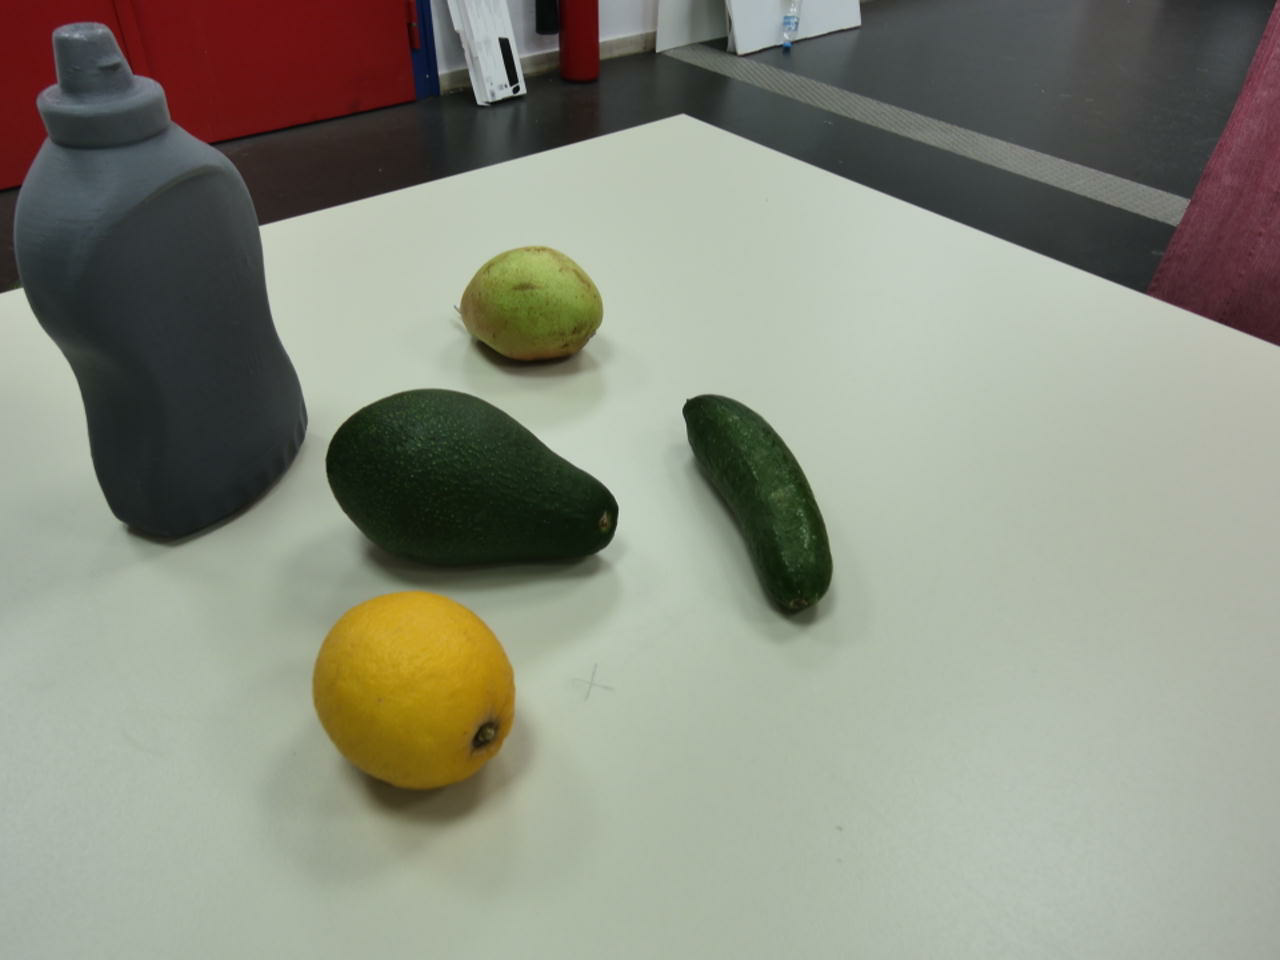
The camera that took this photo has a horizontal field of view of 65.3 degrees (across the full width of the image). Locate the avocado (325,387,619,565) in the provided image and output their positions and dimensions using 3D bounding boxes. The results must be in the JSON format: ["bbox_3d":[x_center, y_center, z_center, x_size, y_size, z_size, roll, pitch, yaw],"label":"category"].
[{"bbox_3d":[-0.069,0.002,0.400,0.110,0.071,0.072,17,40,21],"label":"avocado"}]
